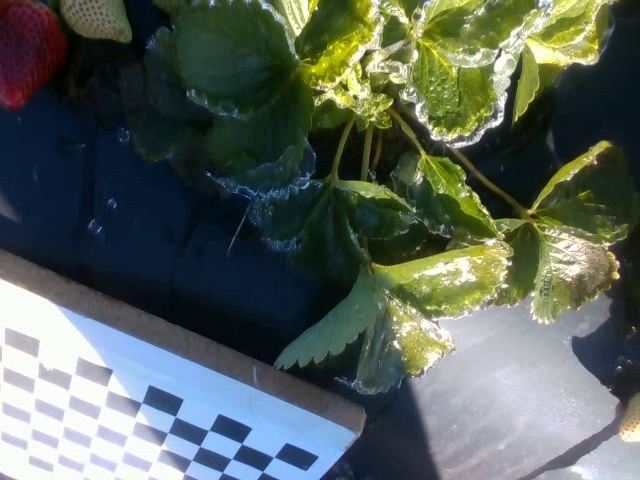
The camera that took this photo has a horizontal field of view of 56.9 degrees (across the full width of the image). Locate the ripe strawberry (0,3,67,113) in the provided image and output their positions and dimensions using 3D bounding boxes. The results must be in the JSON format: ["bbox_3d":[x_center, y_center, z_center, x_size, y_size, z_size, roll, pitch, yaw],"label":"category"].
[{"bbox_3d":[-0.131,-0.078,0.254,0.040,0.053,0.042,-5,-25,15],"label":"ripe strawberry"}]
